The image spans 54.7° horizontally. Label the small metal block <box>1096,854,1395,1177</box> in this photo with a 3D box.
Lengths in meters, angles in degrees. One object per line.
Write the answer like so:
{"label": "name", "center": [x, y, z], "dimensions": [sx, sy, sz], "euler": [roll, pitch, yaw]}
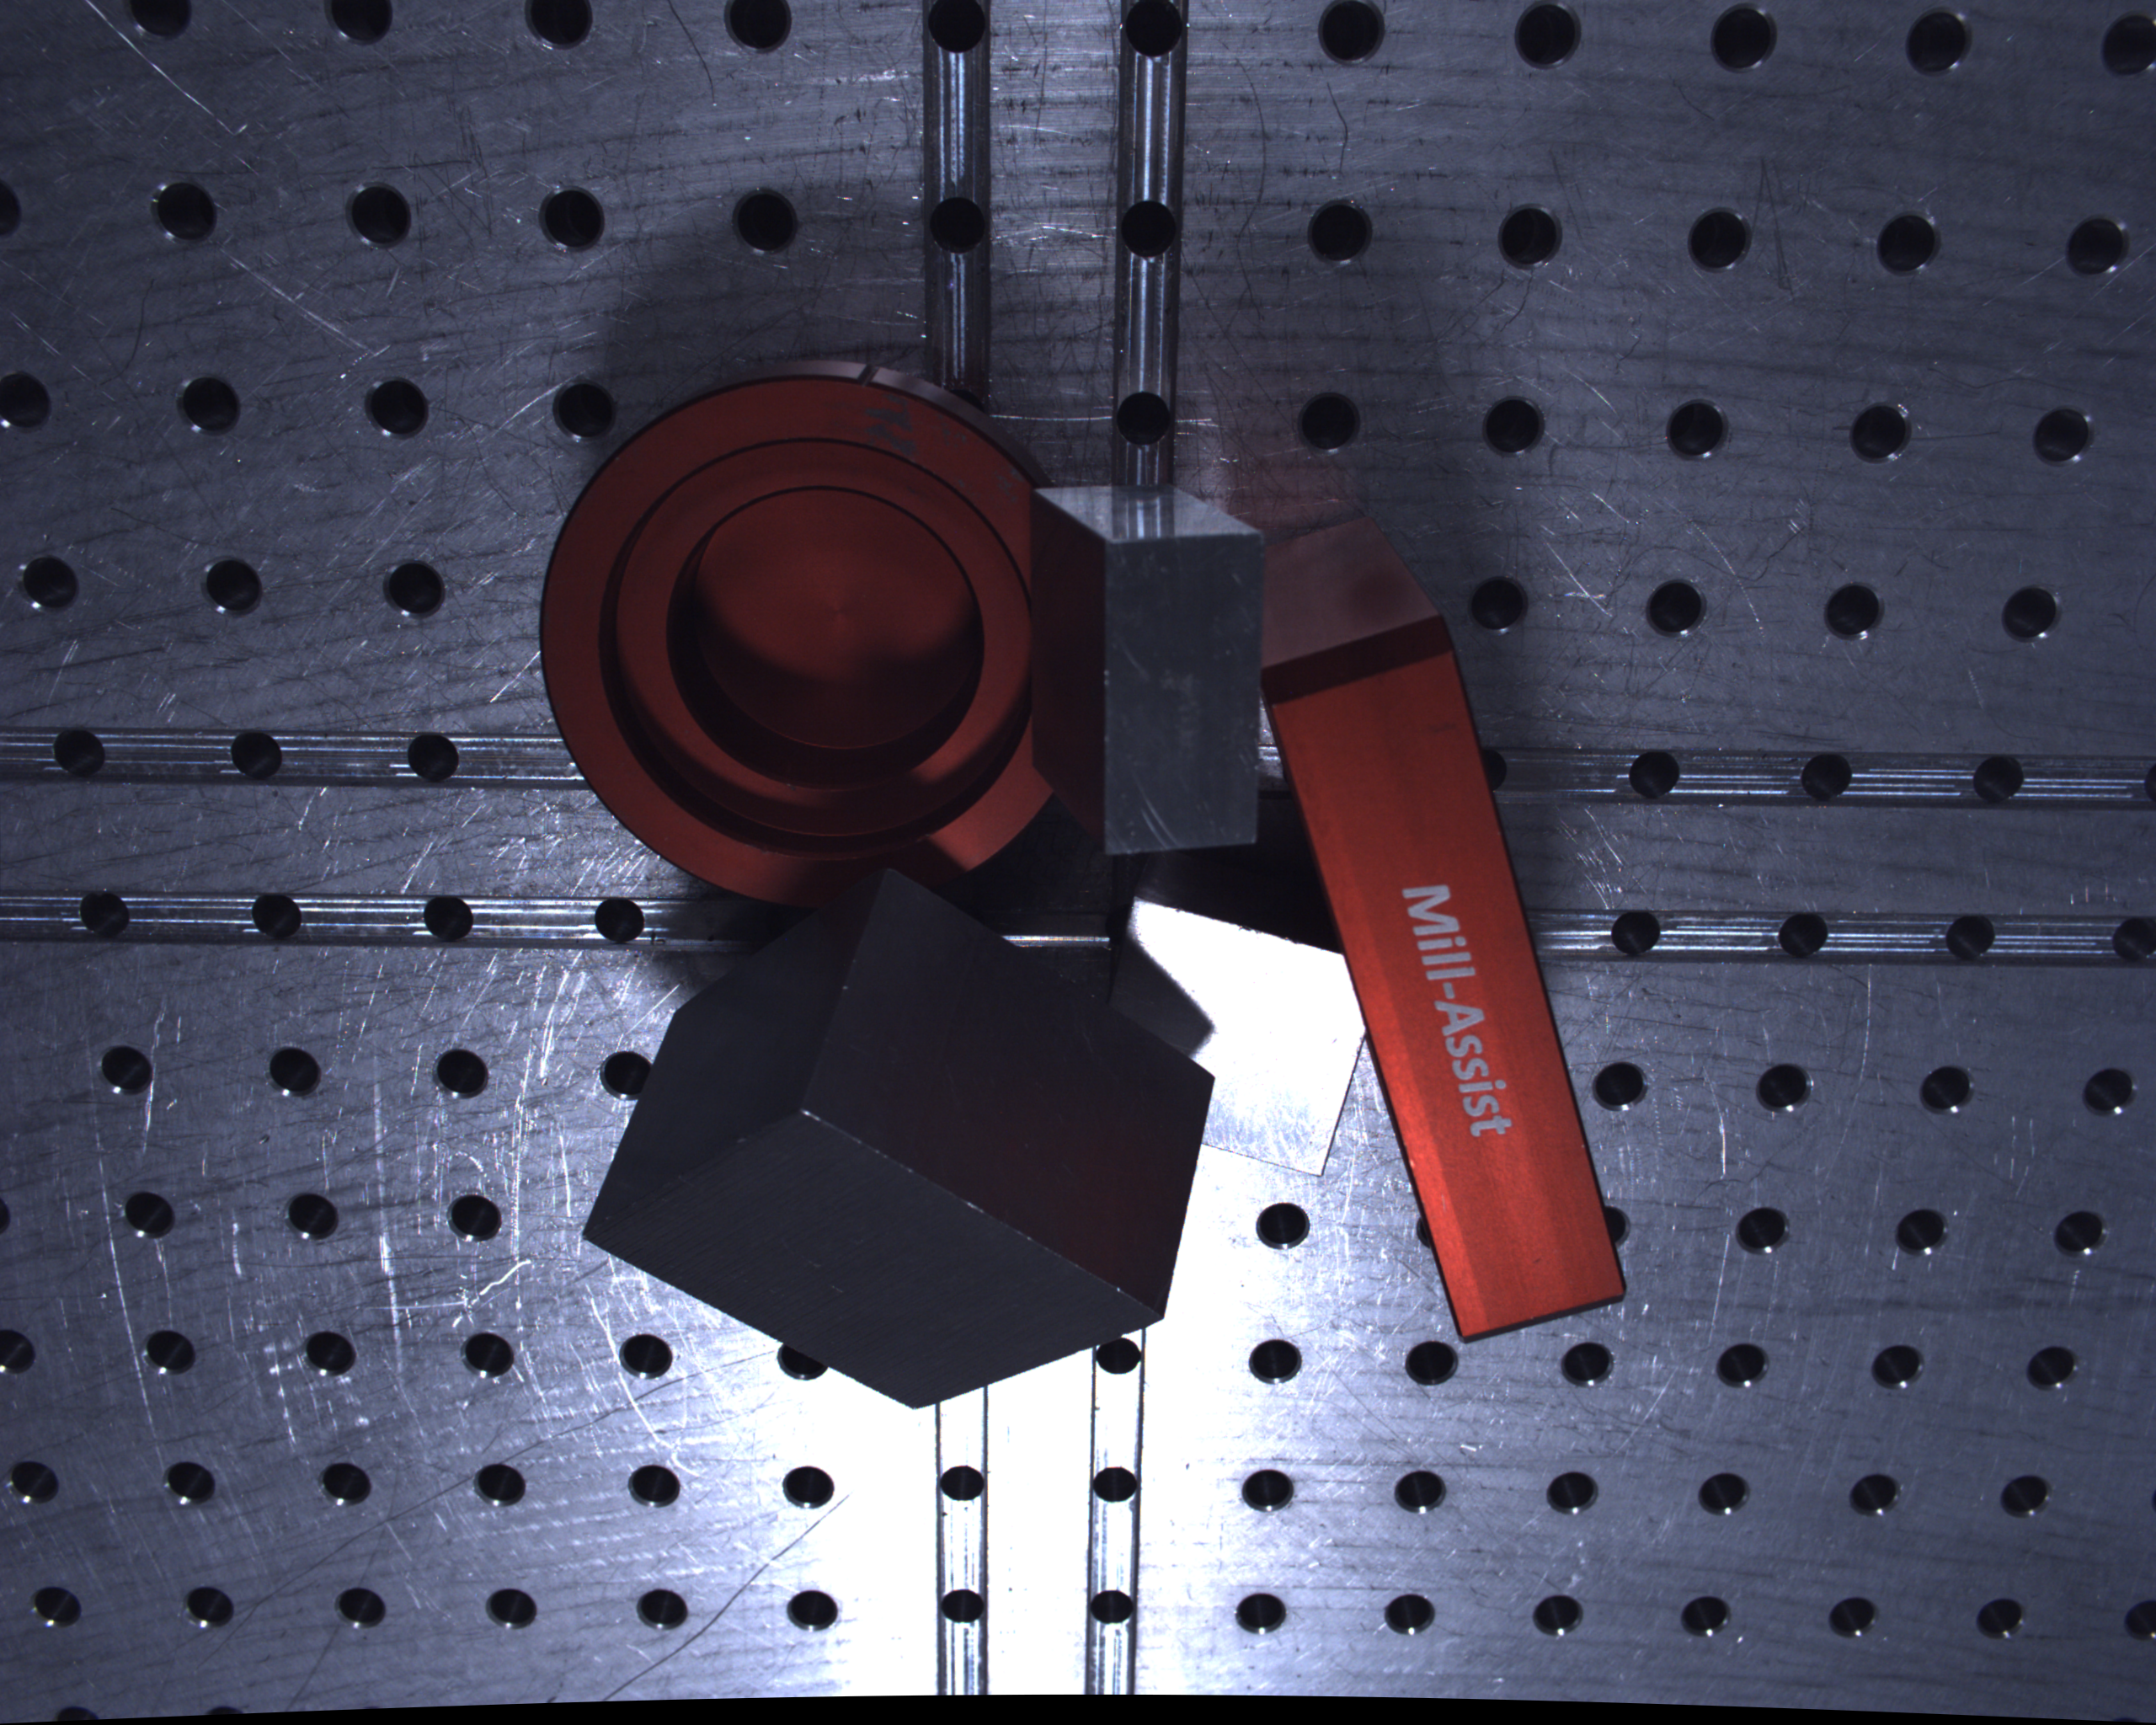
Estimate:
{"label": "small metal block", "center": [0.033, 0.030, 0.419], "dimensions": [0.050, 0.025, 0.050], "euler": [15, 114, 5]}

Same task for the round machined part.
{"label": "round machined part", "center": [-0.046, -0.044, 0.387], "dimensions": [0.099, 0.042, 0.097], "euler": [0, 110, -1]}

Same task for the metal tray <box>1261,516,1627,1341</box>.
{"label": "metal tray", "center": [0.062, 0.009, 0.383], "dimensions": [0.030, 0.090, 0.129], "euler": [-17, 110, 6]}

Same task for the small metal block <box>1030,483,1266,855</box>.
{"label": "small metal block", "center": [0.010, -0.034, 0.344], "dimensions": [0.025, 0.050, 0.050], "euler": [-5, 109, -14]}

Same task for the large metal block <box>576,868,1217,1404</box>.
{"label": "large metal block", "center": [-0.034, 0.056, 0.396], "dimensions": [0.080, 0.050, 0.080], "euler": [34, 139, -23]}
